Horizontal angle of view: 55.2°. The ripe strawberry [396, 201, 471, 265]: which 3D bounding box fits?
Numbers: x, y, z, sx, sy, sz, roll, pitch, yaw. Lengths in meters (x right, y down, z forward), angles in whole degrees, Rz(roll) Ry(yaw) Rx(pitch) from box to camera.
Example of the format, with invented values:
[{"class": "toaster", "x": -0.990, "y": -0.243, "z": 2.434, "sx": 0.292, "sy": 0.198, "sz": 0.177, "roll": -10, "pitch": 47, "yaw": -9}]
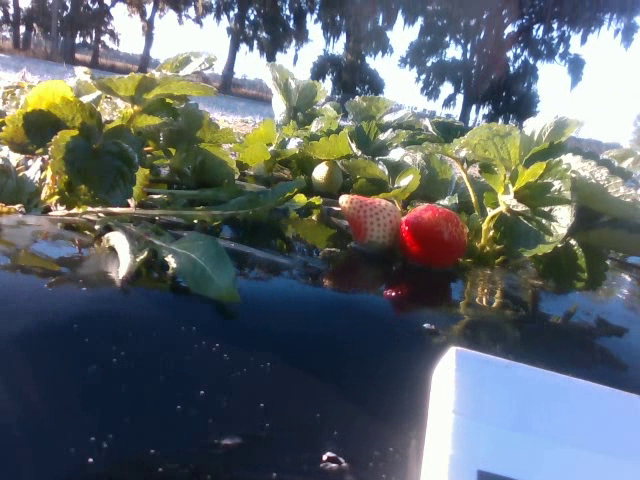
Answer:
[{"class": "ripe strawberry", "x": 0.059, "y": -0.008, "z": 0.311, "sx": 0.040, "sy": 0.038, "sz": 0.056, "roll": -16, "pitch": -35, "yaw": 10}]
